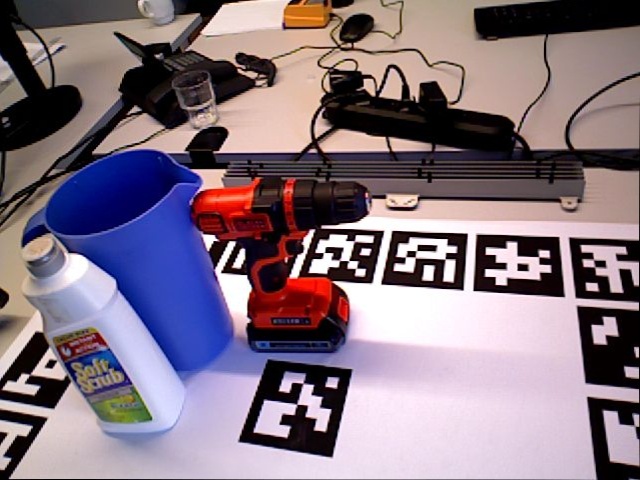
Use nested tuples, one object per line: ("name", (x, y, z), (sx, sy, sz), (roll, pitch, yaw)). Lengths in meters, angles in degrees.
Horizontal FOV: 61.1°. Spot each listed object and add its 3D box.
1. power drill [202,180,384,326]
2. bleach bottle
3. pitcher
("power drill", (-0.014, 0.014, 0.555), (0.184, 0.191, 0.056), (0, 47, 6))
("bleach bottle", (-0.212, 0.077, 0.500), (0.103, 0.255, 0.066), (-5, 44, 9))
("pitcher", (-0.181, 0.020, 0.579), (0.187, 0.247, 0.132), (-19, 45, -5))
